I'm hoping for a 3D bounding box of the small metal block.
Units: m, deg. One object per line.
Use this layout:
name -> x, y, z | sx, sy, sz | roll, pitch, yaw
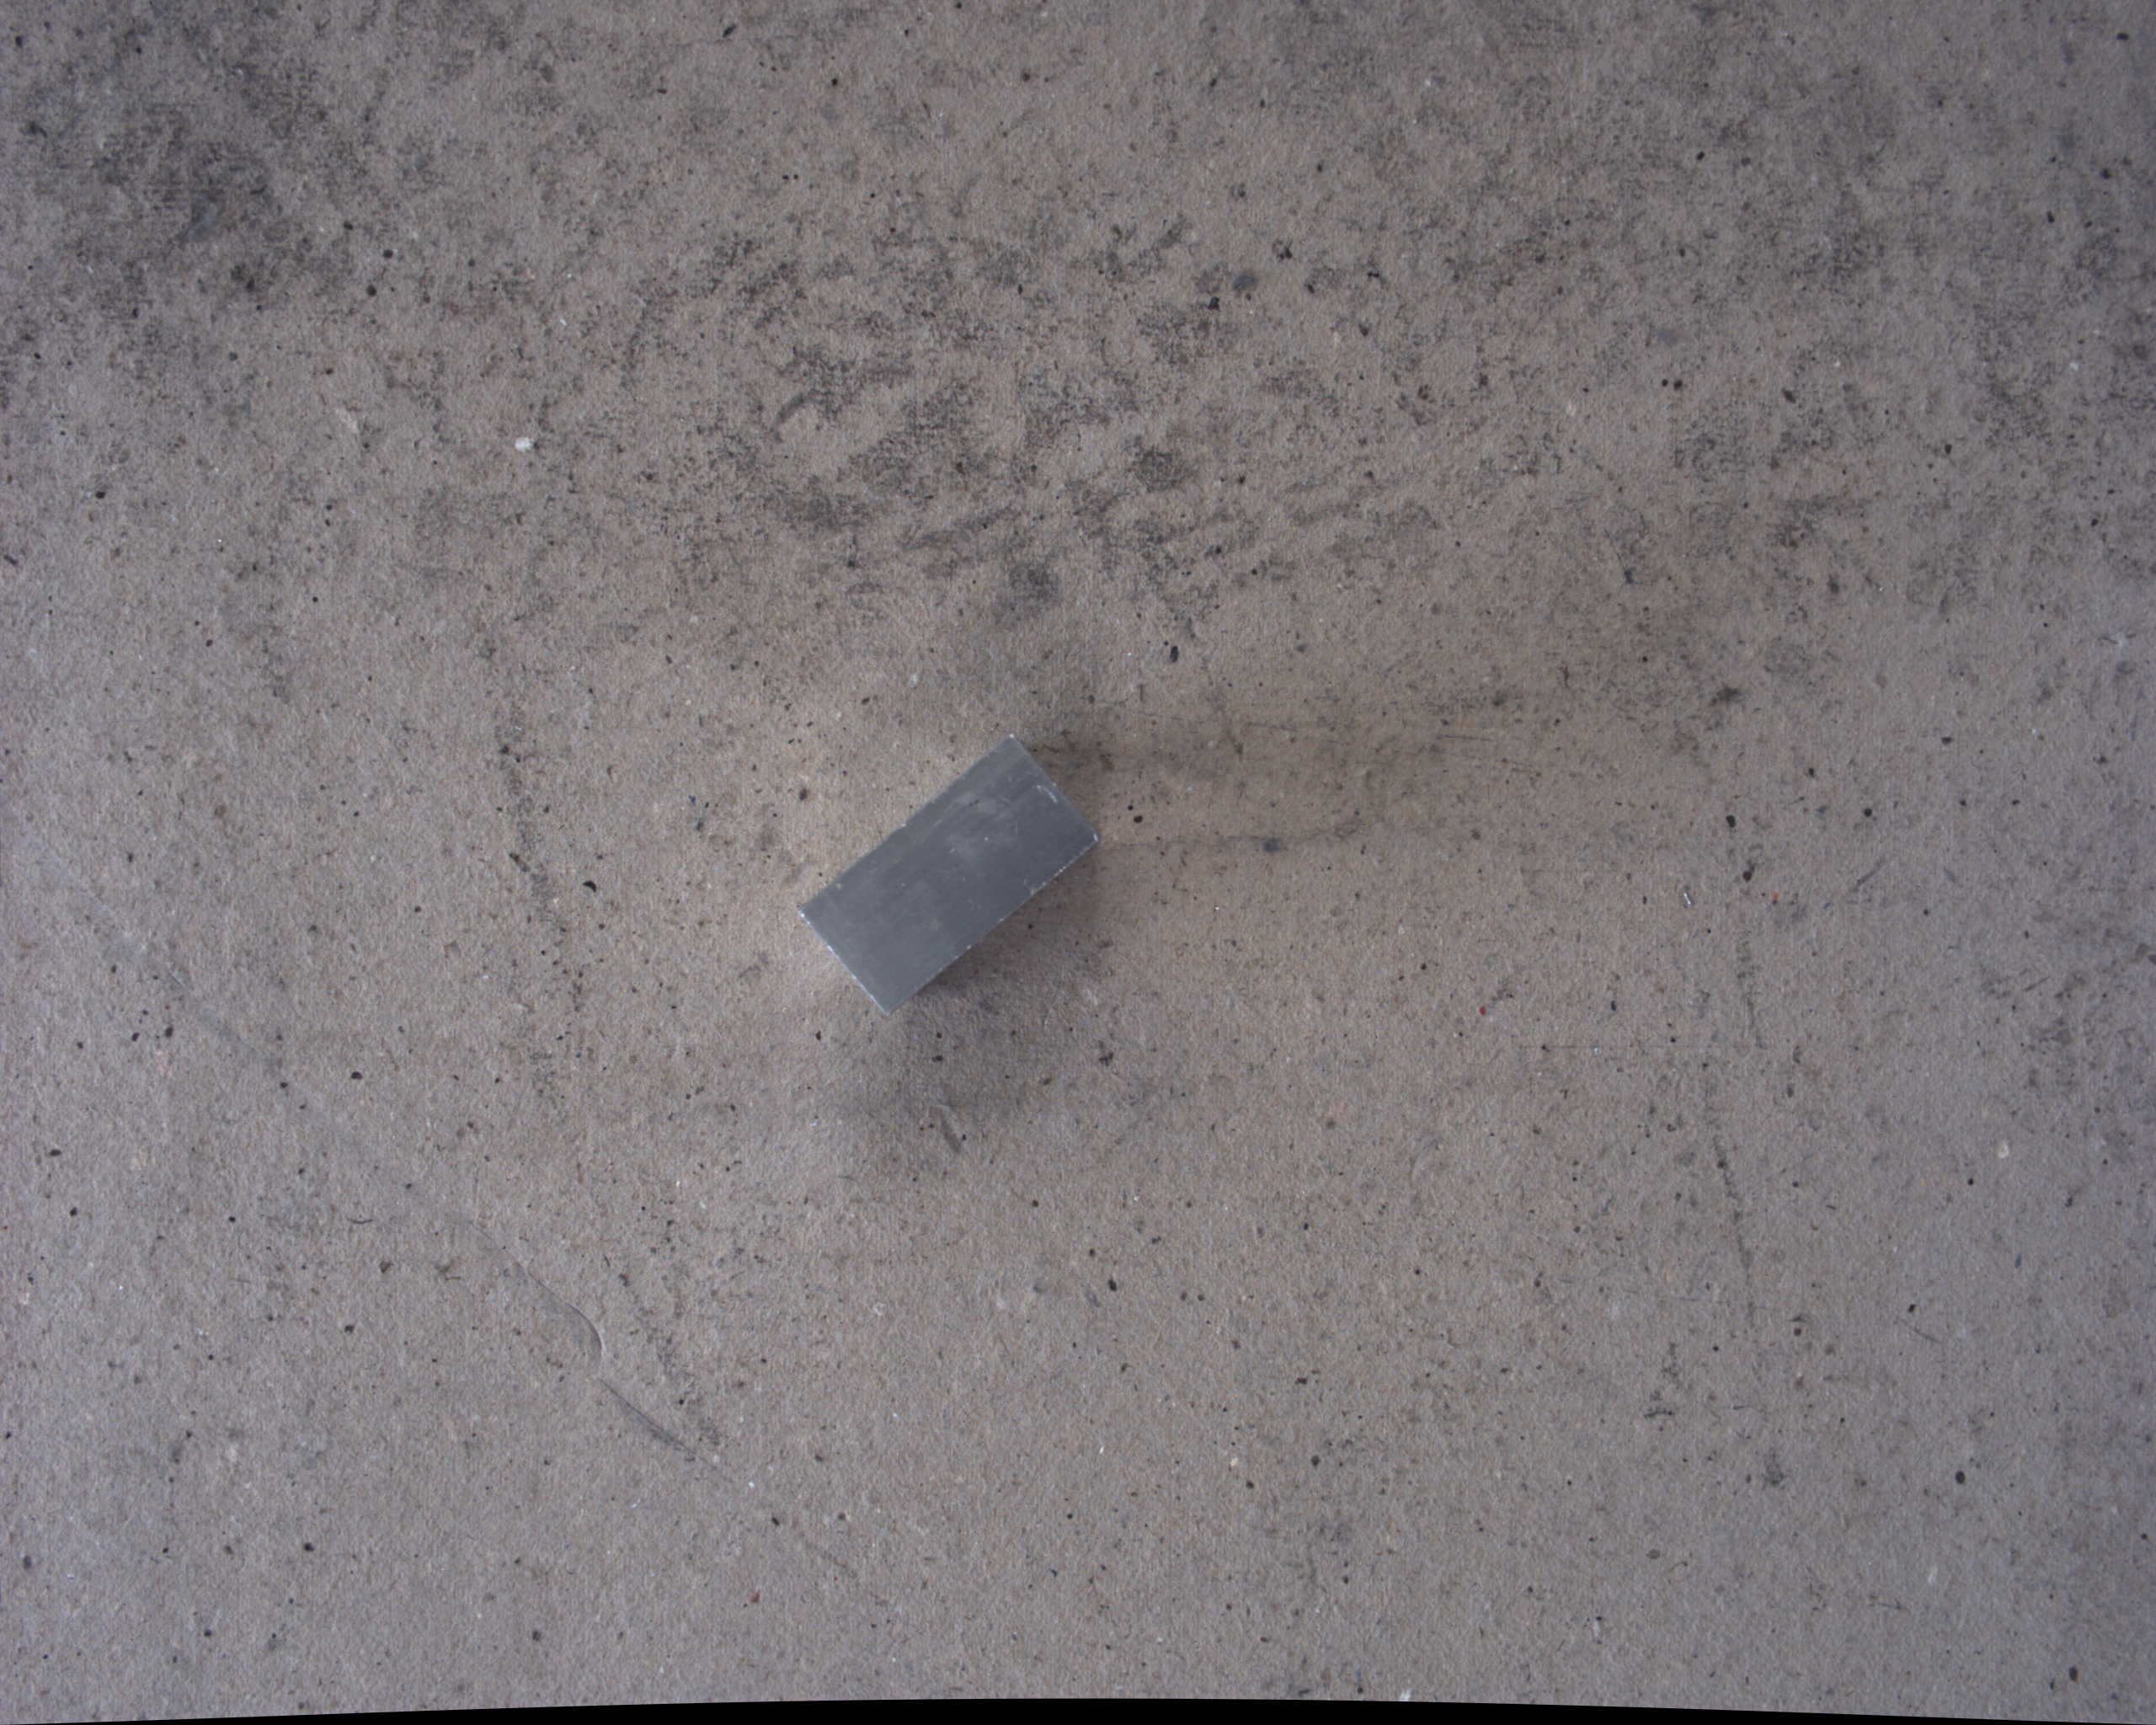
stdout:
small metal block -> -0.023, 0.002, 0.399 | 0.050, 0.050, 0.025 | -40, 90, 0
